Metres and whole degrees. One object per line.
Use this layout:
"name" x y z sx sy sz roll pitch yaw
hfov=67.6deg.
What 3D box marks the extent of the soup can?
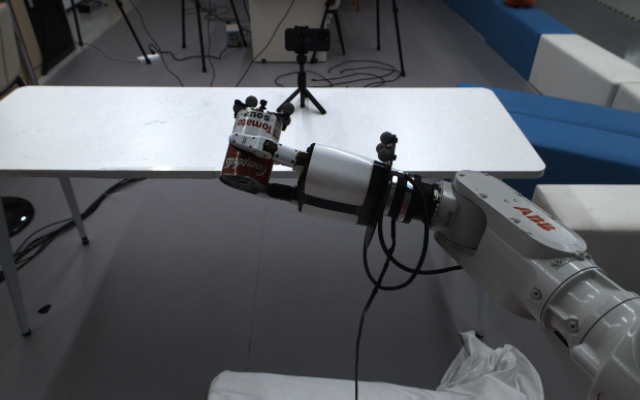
"soup can" -0.095 -0.068 0.673 0.067 0.067 0.101 9 74 9
